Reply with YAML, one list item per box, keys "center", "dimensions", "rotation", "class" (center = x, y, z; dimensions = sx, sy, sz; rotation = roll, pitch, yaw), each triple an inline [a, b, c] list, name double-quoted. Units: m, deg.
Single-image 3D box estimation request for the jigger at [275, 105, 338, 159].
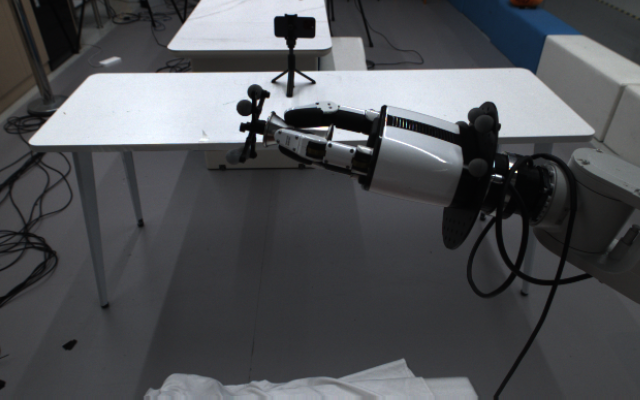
- center: [-0.017, -0.071, 0.525]
  dimensions: [0.071, 0.043, 0.043]
  rotation: [14, 36, 5]
  class: "jigger"
